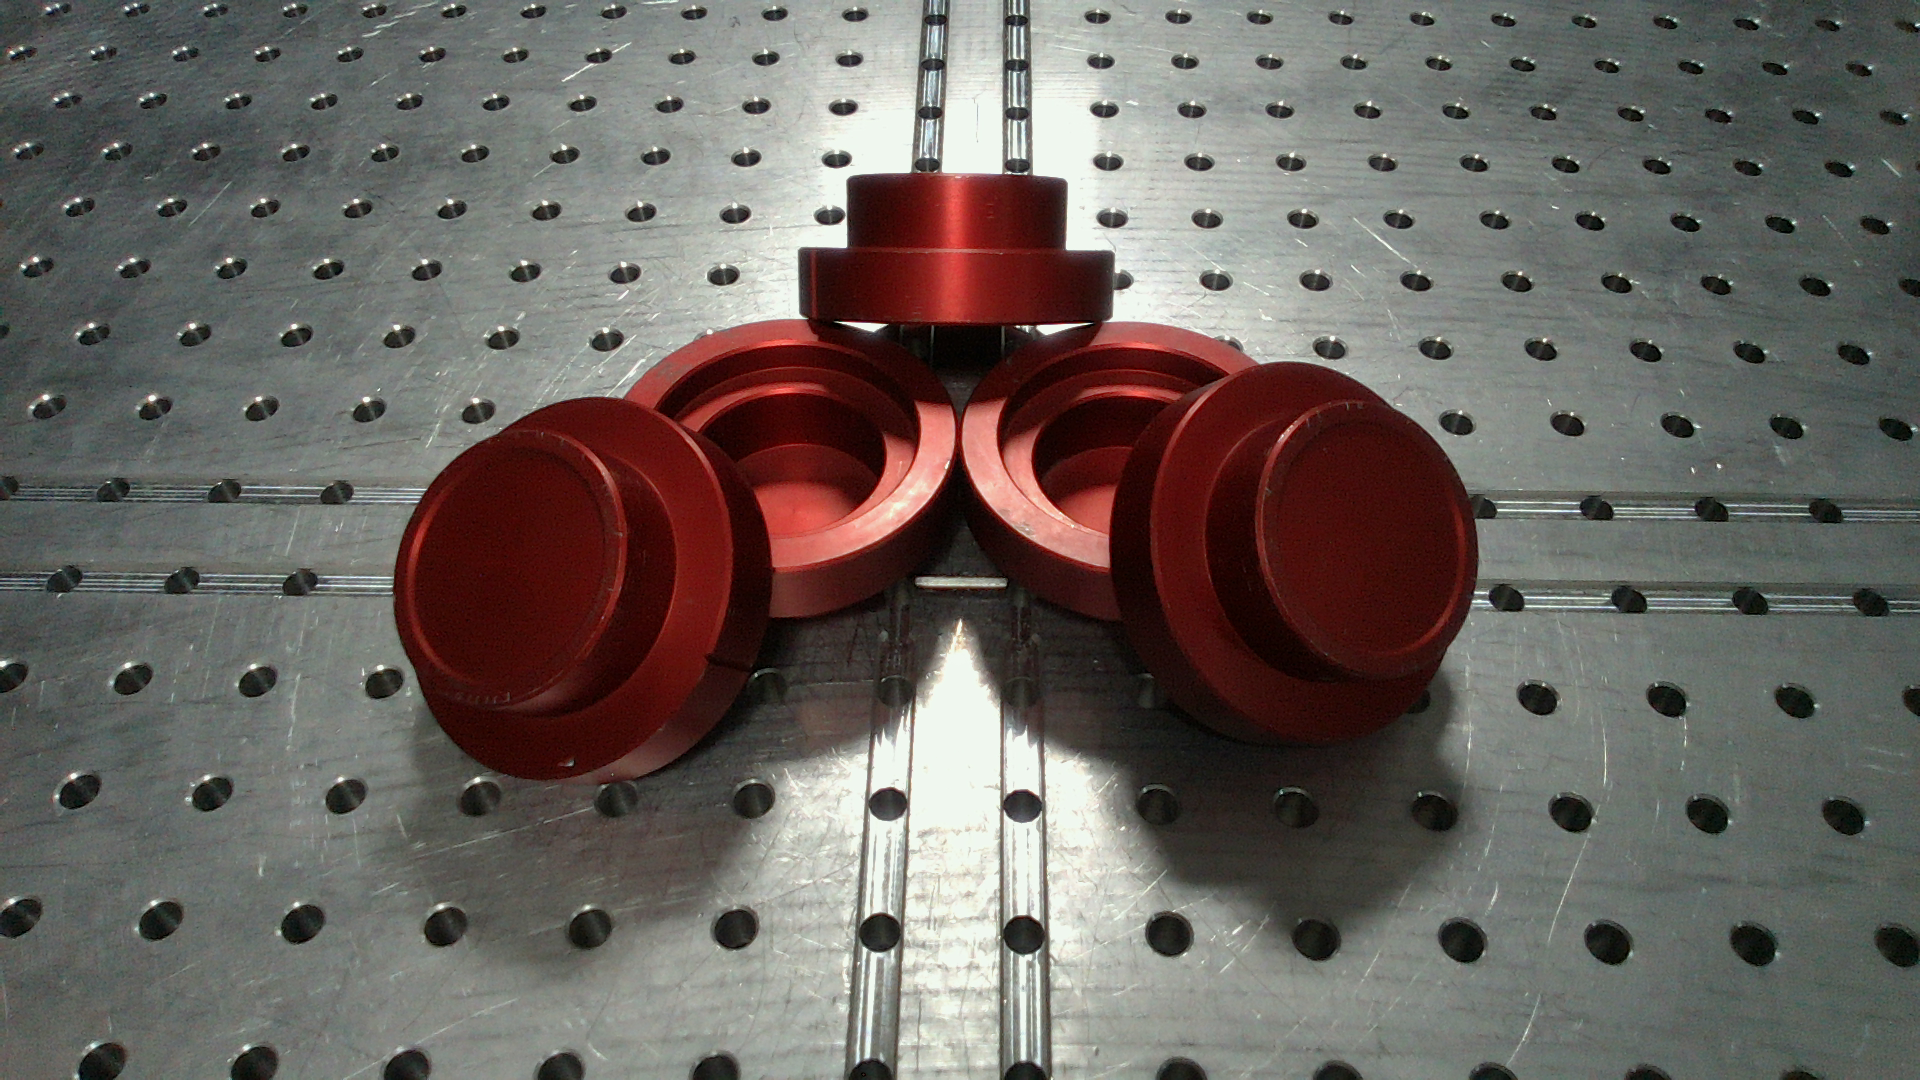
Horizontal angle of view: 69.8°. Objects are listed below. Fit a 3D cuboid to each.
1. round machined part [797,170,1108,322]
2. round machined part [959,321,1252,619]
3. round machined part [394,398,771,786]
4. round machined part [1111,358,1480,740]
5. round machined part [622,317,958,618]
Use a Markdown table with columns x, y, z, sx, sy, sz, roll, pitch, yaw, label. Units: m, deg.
| x | y | z | sx | sy | sz | roll | pitch | yaw | label |
| --- | --- | --- | --- | --- | --- | --- | --- | --- | --- |
| -0.002 | -0.091 | 0.427 | 0.098 | 0.042 | 0.098 | 0 | 12 | 0 | round machined part |
| 0.049 | -0.015 | 0.396 | 0.098 | 0.042 | 0.098 | 0 | 50 | 0 | round machined part |
| -0.100 | 0.011 | 0.344 | 0.098 | 0.042 | 0.098 | -5 | 75 | 22 | round machined part |
| 0.091 | 0.001 | 0.347 | 0.098 | 0.042 | 0.098 | 5 | 78 | -24 | round machined part |
| -0.049 | -0.017 | 0.396 | 0.098 | 0.042 | 0.098 | 0 | 50 | 0 | round machined part |
